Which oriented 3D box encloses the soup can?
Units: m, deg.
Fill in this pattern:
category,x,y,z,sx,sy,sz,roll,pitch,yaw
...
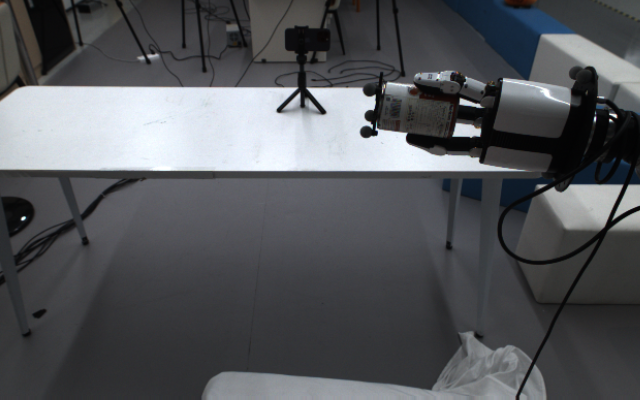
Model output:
category,x,y,z,sx,sy,sz,roll,pitch,yaw
soup can,0.135,-0.125,0.663,0.101,0.067,0.067,9,35,9
